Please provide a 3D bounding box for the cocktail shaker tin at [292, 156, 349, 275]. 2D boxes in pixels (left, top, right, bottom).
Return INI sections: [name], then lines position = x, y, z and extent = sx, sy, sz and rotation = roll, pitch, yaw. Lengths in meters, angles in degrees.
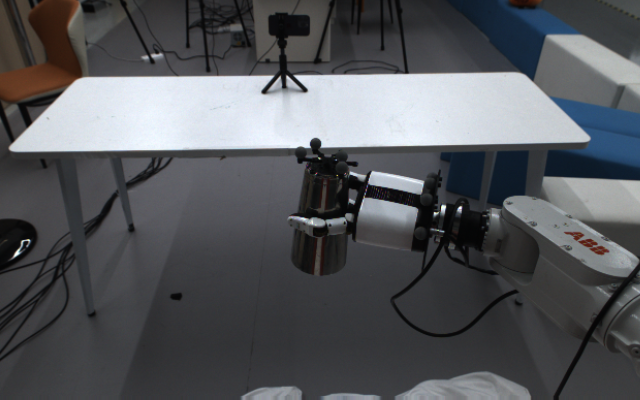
[cocktail shaker tin]
position = 0.004, 0.021, 0.752
extent = 0.093, 0.170, 0.093
rotation = 4, 32, -2
